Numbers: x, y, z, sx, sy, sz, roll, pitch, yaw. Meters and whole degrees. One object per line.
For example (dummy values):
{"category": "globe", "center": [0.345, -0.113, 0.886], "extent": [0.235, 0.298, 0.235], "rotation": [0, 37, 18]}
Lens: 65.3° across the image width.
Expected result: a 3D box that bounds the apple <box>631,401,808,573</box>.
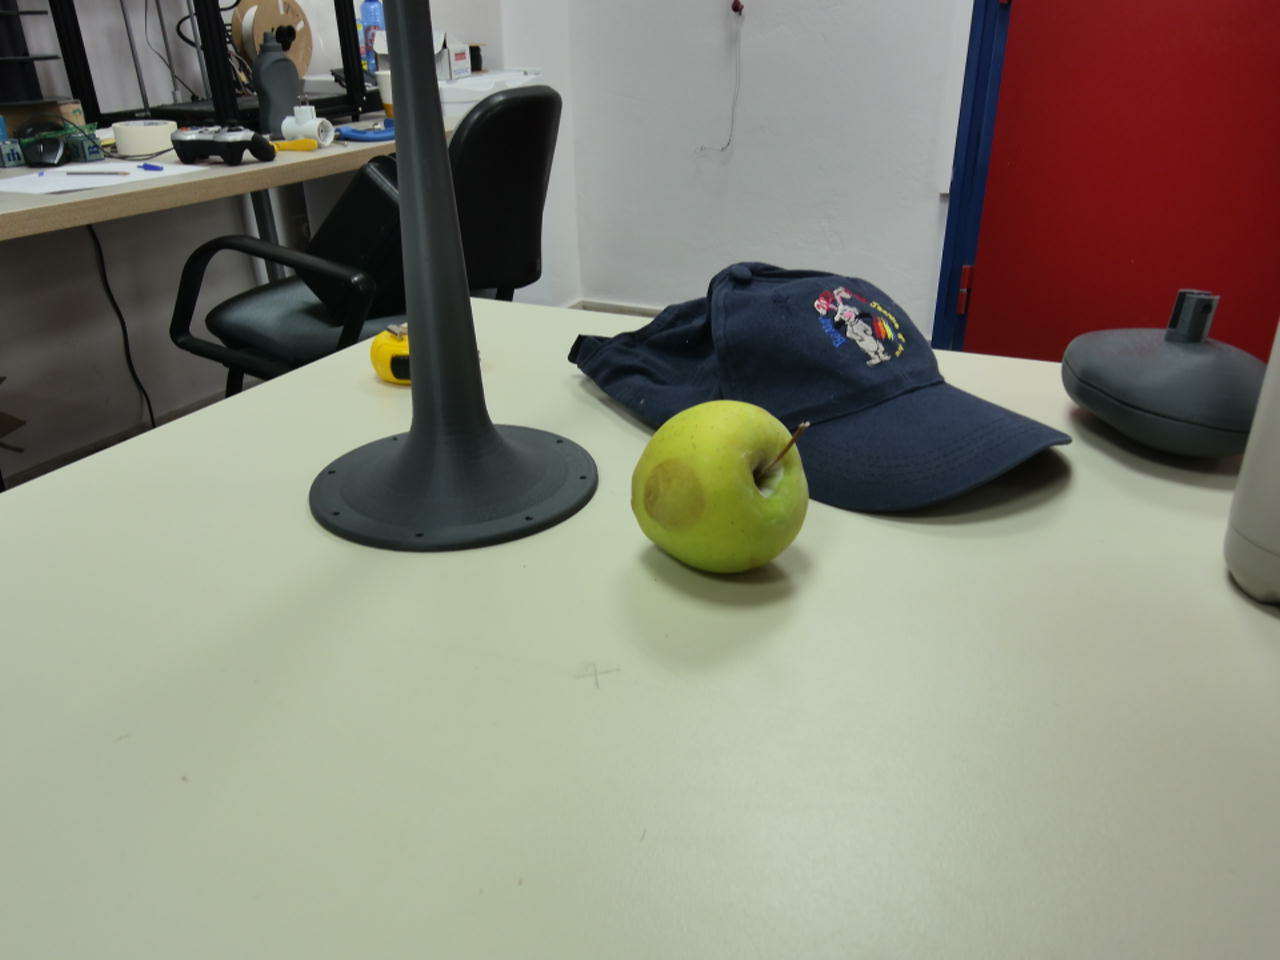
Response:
{"category": "apple", "center": [0.035, 0.002, 0.438], "extent": [0.072, 0.075, 0.077], "rotation": [-8, 25, -18]}
